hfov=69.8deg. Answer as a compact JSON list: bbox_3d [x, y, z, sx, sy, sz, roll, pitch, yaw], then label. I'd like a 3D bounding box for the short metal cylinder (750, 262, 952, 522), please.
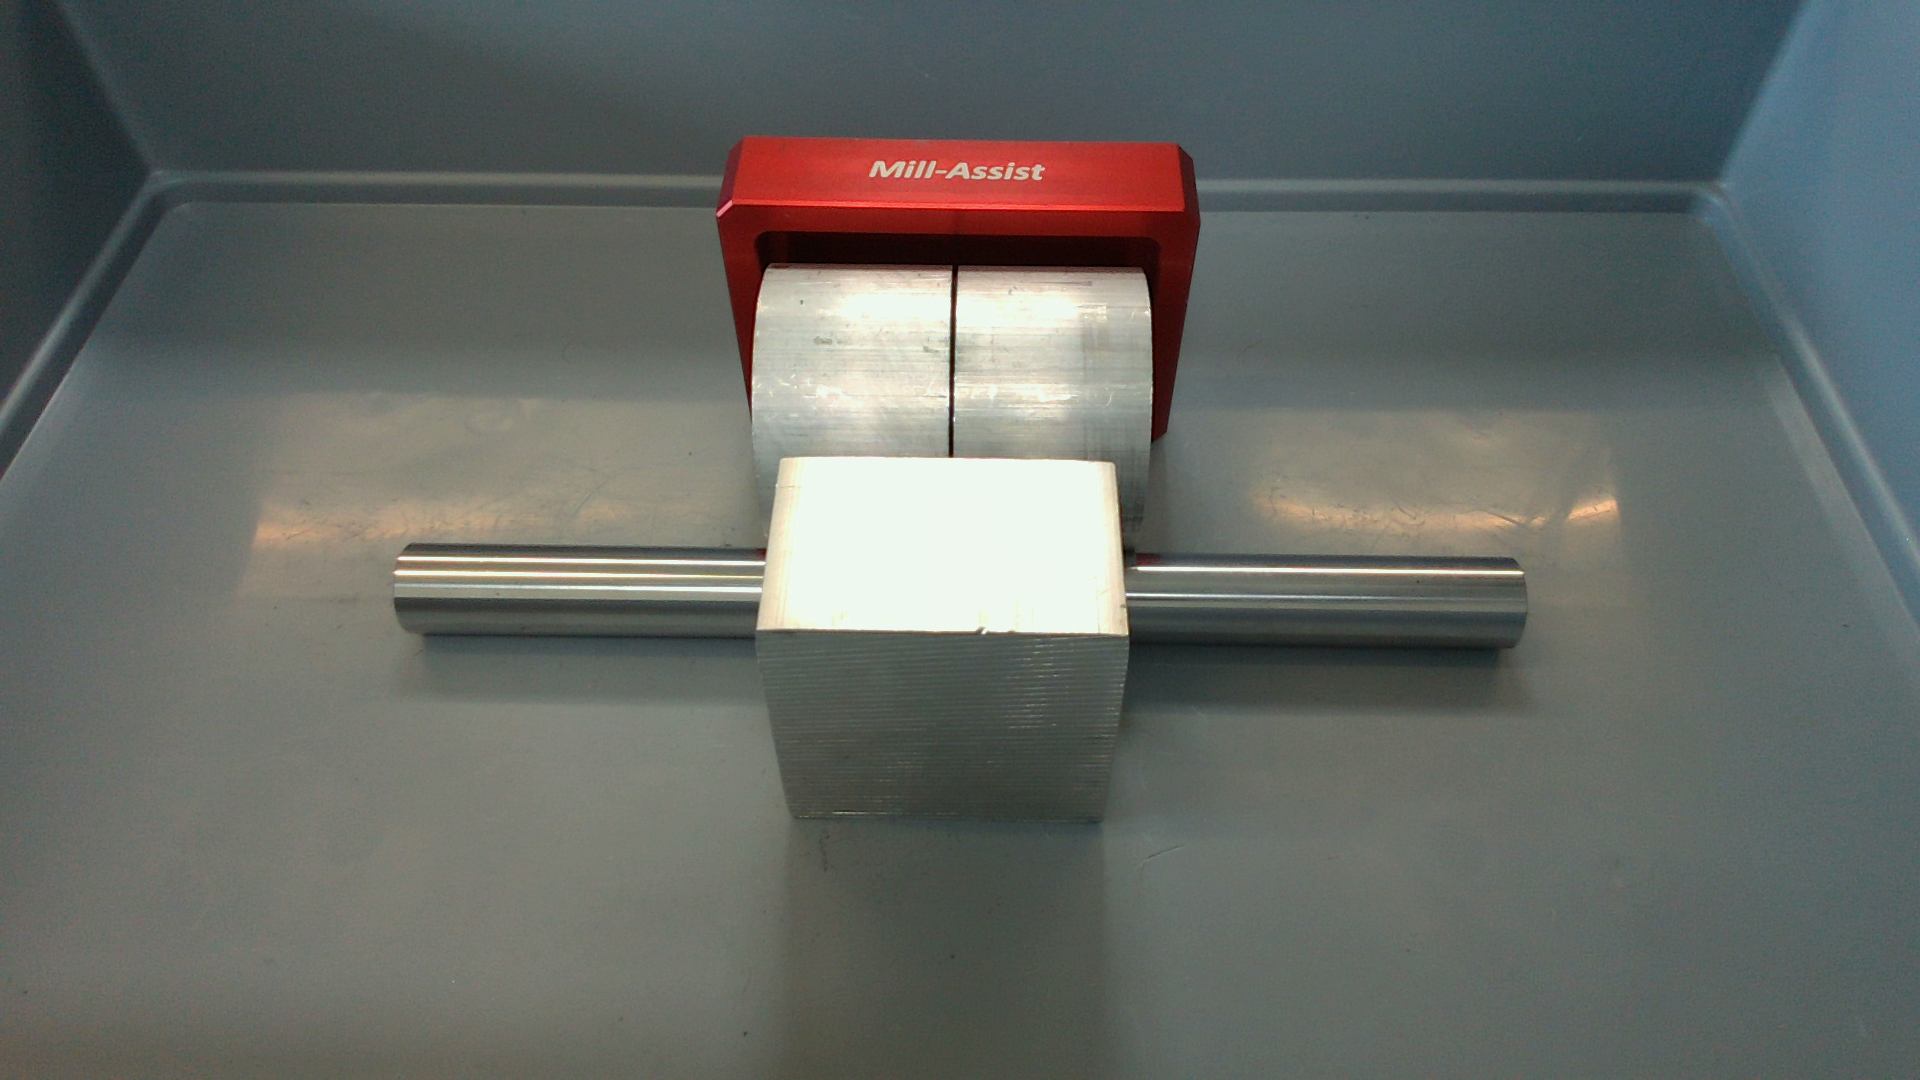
[{"bbox_3d":[-0.027,-0.037,0.387,0.050,0.080,0.080,0,50,1],"label":"short metal cylinder"}]

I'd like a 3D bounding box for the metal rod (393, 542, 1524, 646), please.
[{"bbox_3d":[-0.001,0.015,0.377,0.300,0.025,0.025,1,50,0],"label":"metal rod"}]

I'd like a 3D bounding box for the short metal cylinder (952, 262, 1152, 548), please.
[{"bbox_3d":[0.024,-0.037,0.386,0.050,0.080,0.080,1,50,1],"label":"short metal cylinder"}]

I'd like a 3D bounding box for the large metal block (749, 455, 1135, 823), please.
[{"bbox_3d":[-0.003,0.026,0.332,0.080,0.080,0.050,1,50,1],"label":"large metal block"}]

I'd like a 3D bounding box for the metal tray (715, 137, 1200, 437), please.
[{"bbox_3d":[0.000,-0.072,0.408,0.130,0.090,0.030,1,50,1],"label":"metal tray"}]
